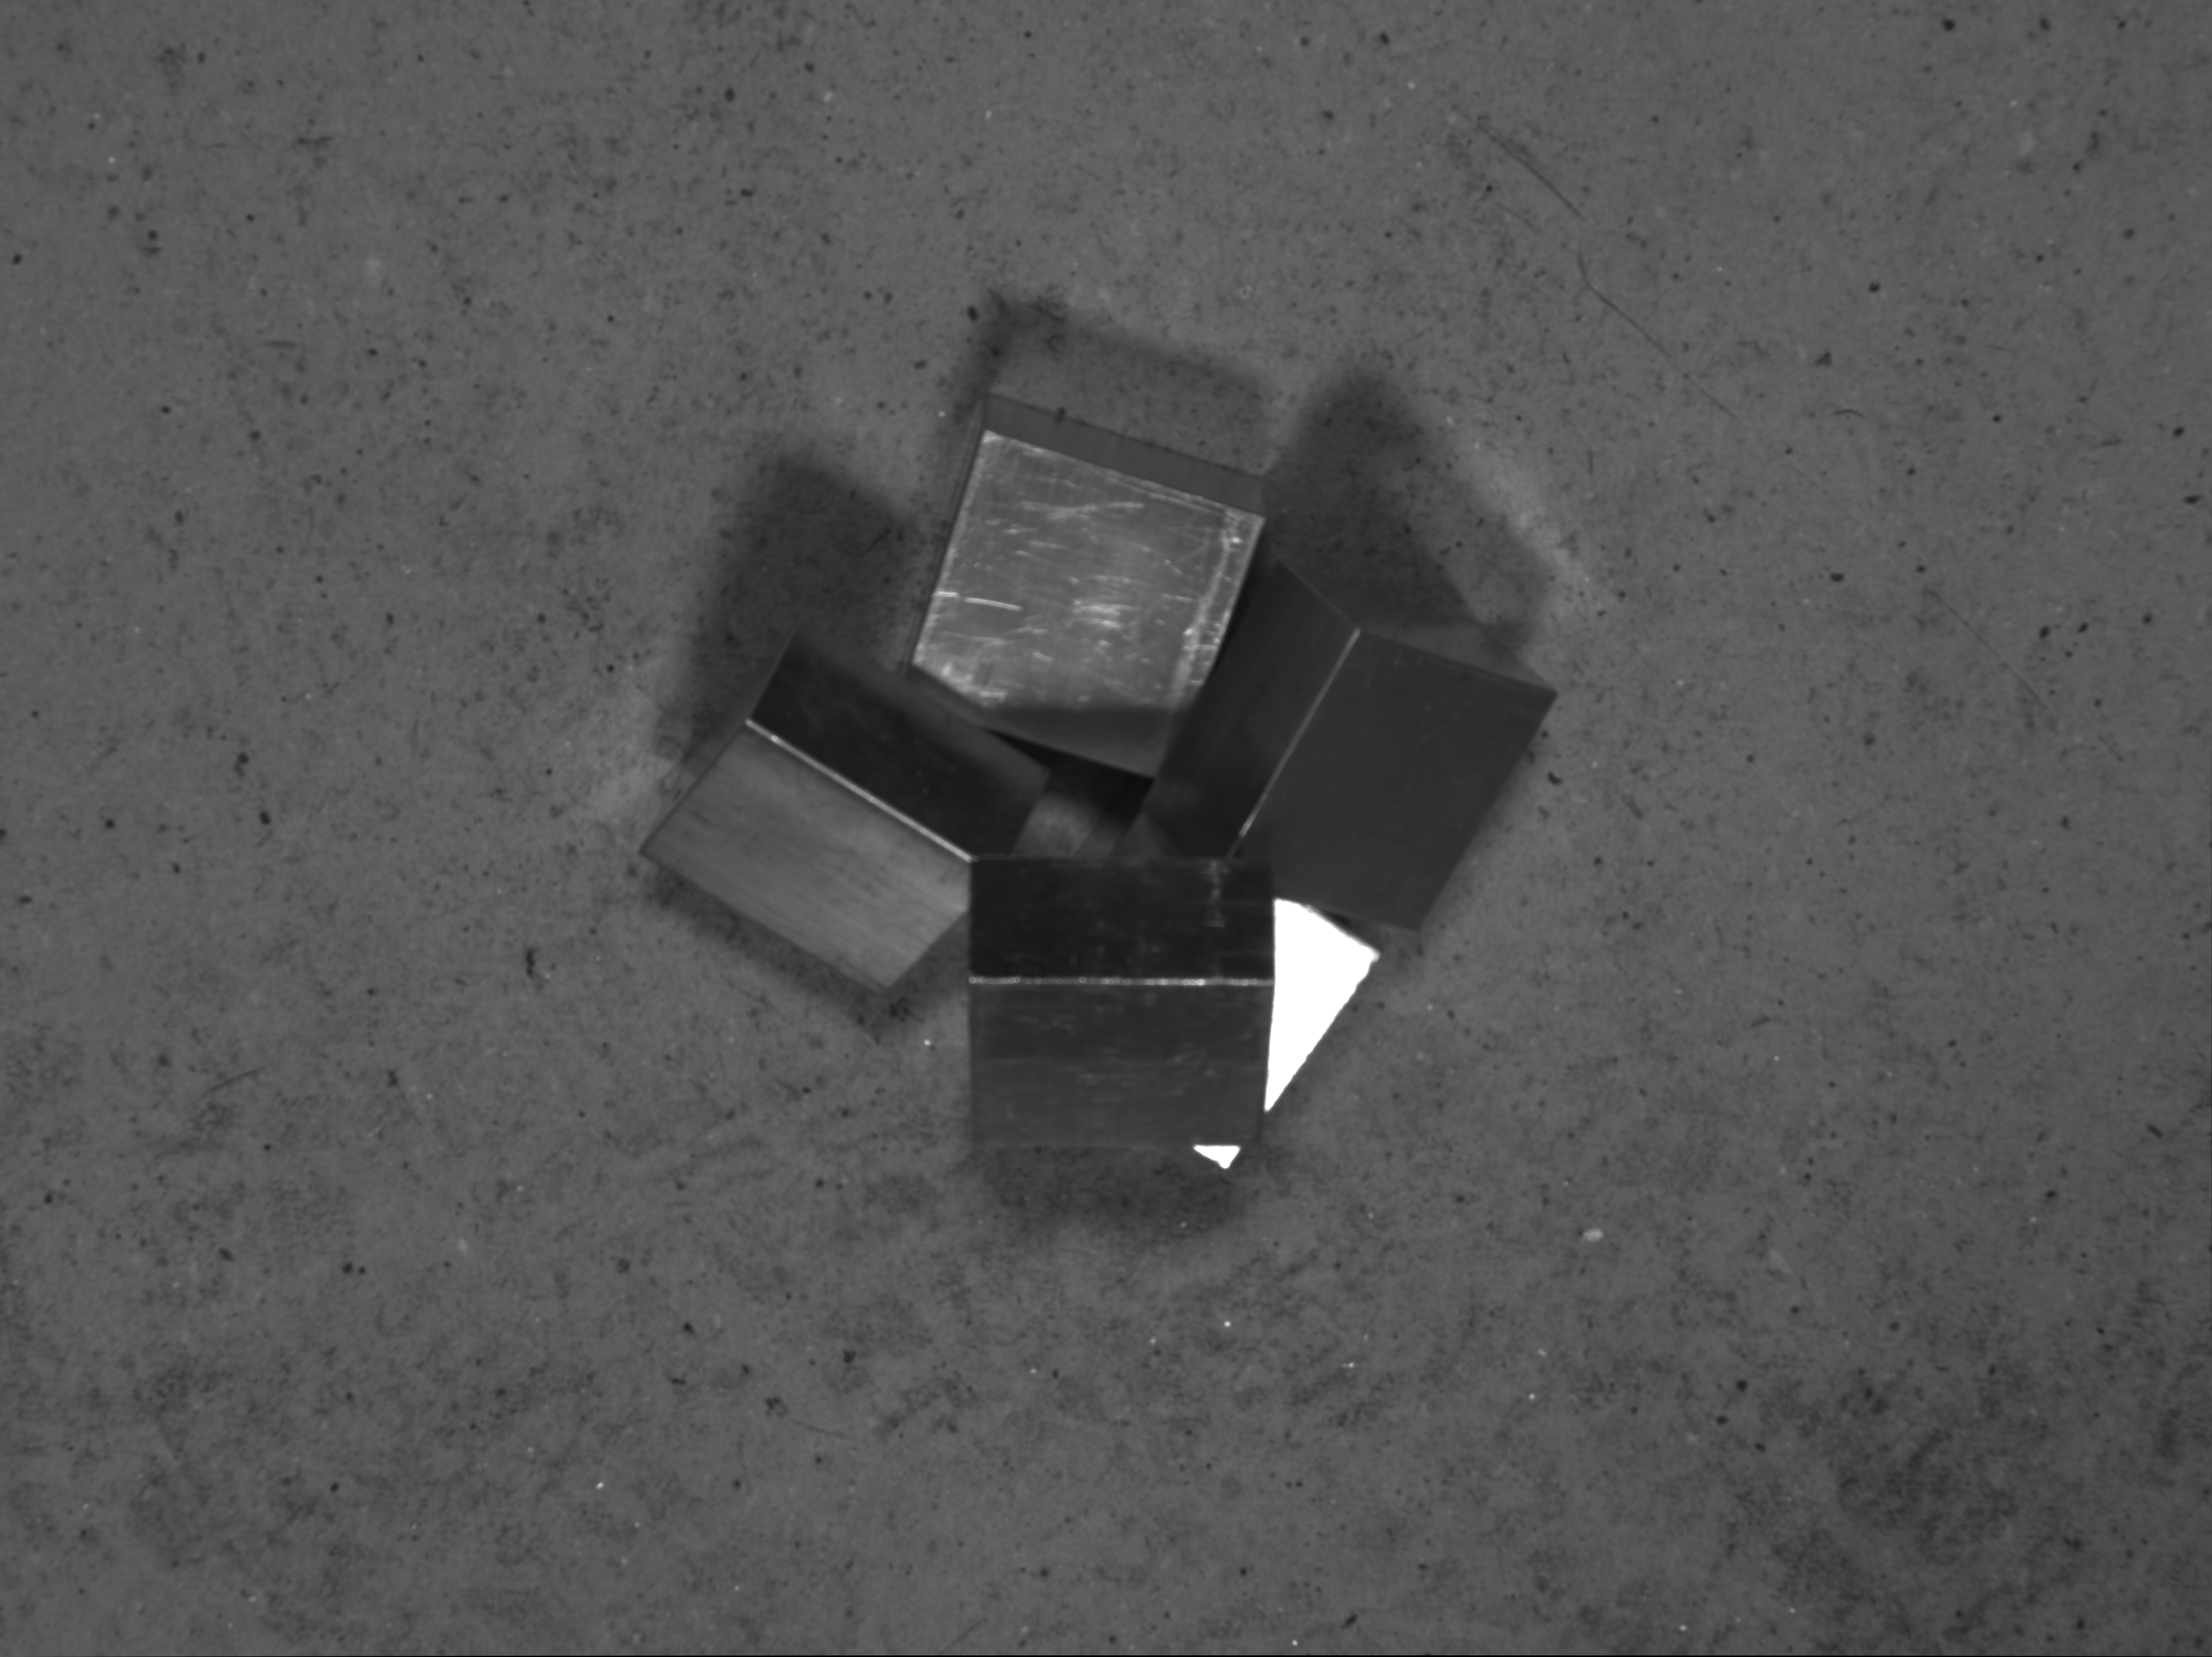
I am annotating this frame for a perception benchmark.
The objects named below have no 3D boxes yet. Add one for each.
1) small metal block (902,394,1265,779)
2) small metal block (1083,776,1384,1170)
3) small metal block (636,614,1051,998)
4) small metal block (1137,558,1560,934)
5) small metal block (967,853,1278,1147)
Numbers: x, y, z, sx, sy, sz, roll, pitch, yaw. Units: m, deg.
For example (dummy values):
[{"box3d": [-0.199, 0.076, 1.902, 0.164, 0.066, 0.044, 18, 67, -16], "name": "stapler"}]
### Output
[{"box3d": [-0.005, -0.041, 0.629, 0.050, 0.025, 0.050, 16, 109, -6], "name": "small metal block"}, {"box3d": [0.014, 0.024, 0.653, 0.050, 0.025, 0.050, 31, 107, -11], "name": "small metal block"}, {"box3d": [-0.046, -0.003, 0.629, 0.050, 0.025, 0.050, 31, 143, -12], "name": "small metal block"}, {"box3d": [0.042, -0.013, 0.627, 0.050, 0.025, 0.050, 14, 113, -41], "name": "small metal block"}, {"box3d": [0.002, 0.029, 0.615, 0.050, 0.025, 0.050, 0, 142, -1], "name": "small metal block"}]
